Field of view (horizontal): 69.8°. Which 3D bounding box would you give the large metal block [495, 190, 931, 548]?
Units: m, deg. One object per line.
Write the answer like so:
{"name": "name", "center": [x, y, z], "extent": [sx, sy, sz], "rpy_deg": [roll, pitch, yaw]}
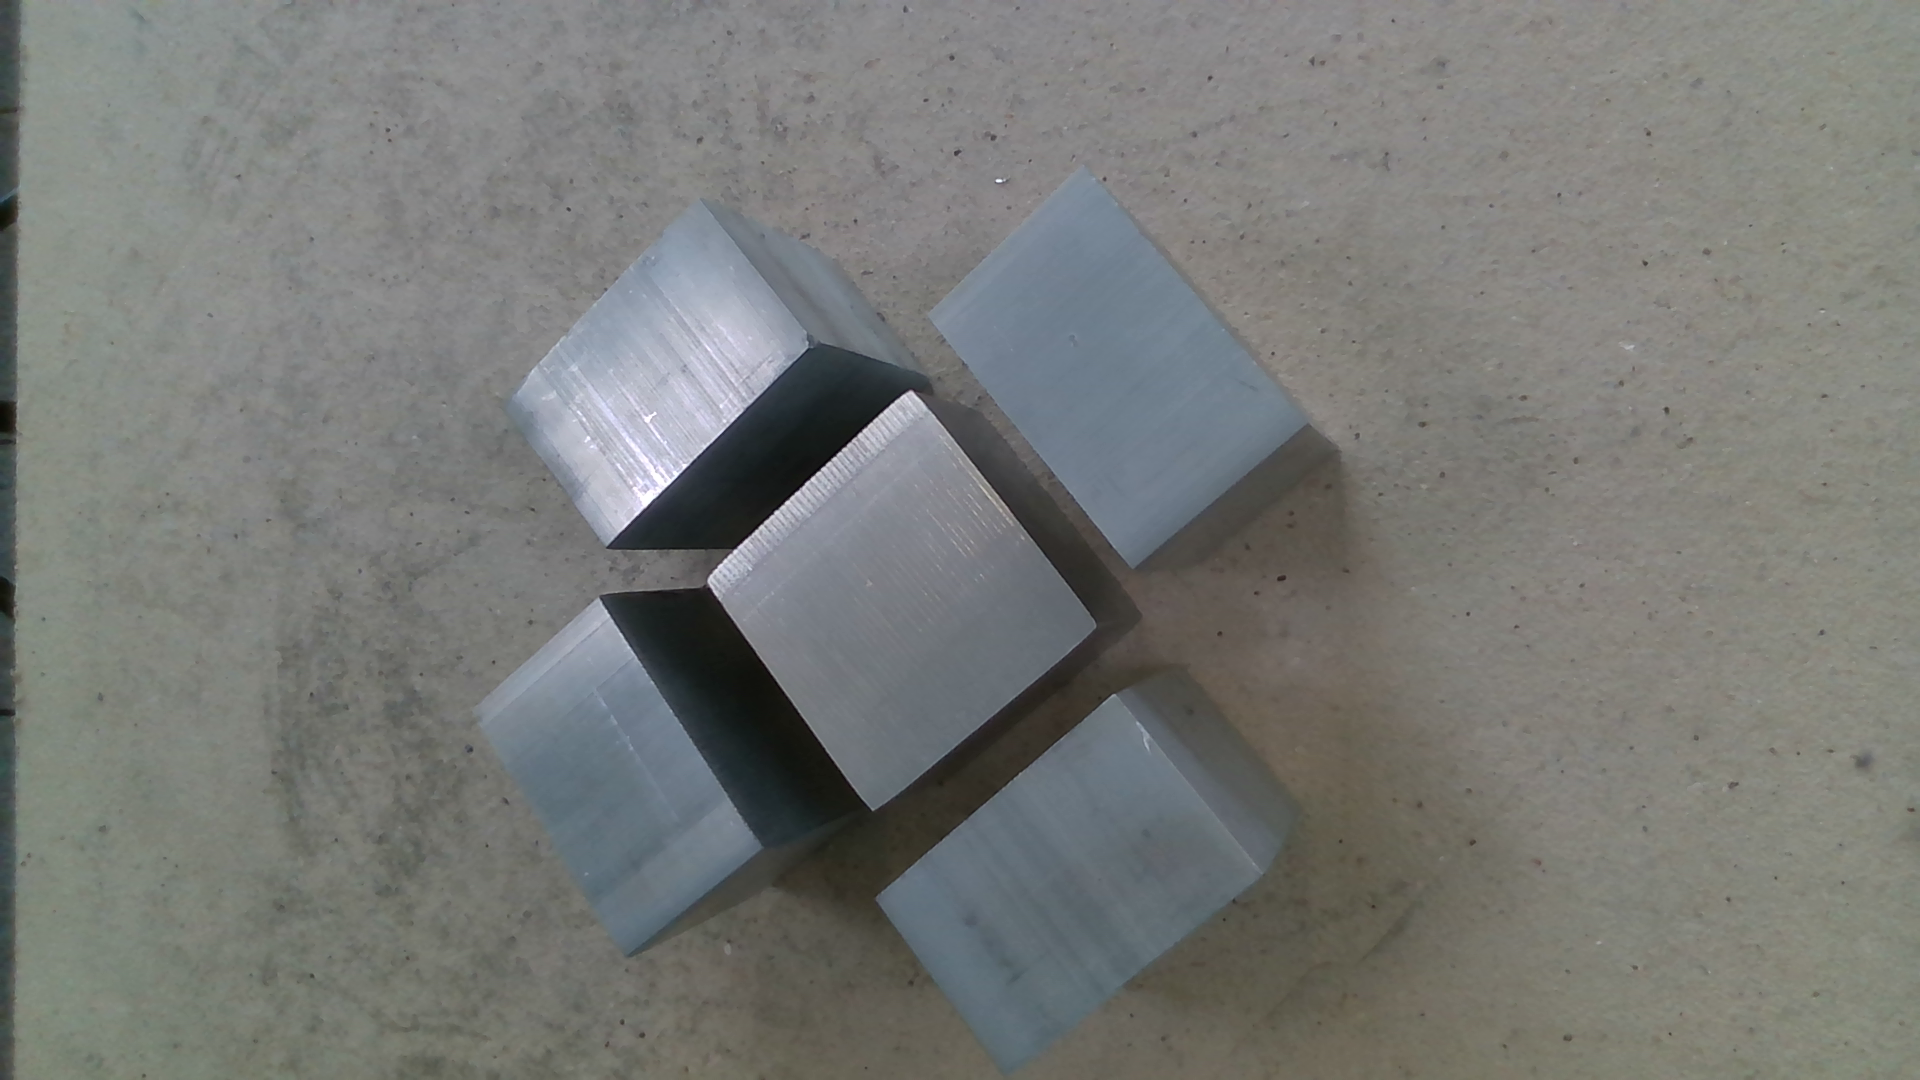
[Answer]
{"name": "large metal block", "center": [-0.066, -0.043, 0.388], "extent": [0.080, 0.080, 0.050], "rpy_deg": [-42, 77, 15]}

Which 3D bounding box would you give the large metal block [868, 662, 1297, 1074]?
{"name": "large metal block", "center": [0.035, 0.079, 0.352], "extent": [0.080, 0.080, 0.050], "rpy_deg": [-43, 77, 15]}

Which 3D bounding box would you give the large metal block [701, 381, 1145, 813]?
{"name": "large metal block", "center": [-0.010, 0.015, 0.382], "extent": [0.080, 0.050, 0.080], "rpy_deg": [-41, 77, 16]}

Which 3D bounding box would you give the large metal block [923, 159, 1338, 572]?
{"name": "large metal block", "center": [0.047, -0.040, 0.348], "extent": [0.050, 0.080, 0.080], "rpy_deg": [-41, 77, 15]}

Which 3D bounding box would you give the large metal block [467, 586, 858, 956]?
{"name": "large metal block", "center": [-0.078, 0.060, 0.393], "extent": [0.050, 0.080, 0.080], "rpy_deg": [-39, 78, 15]}
